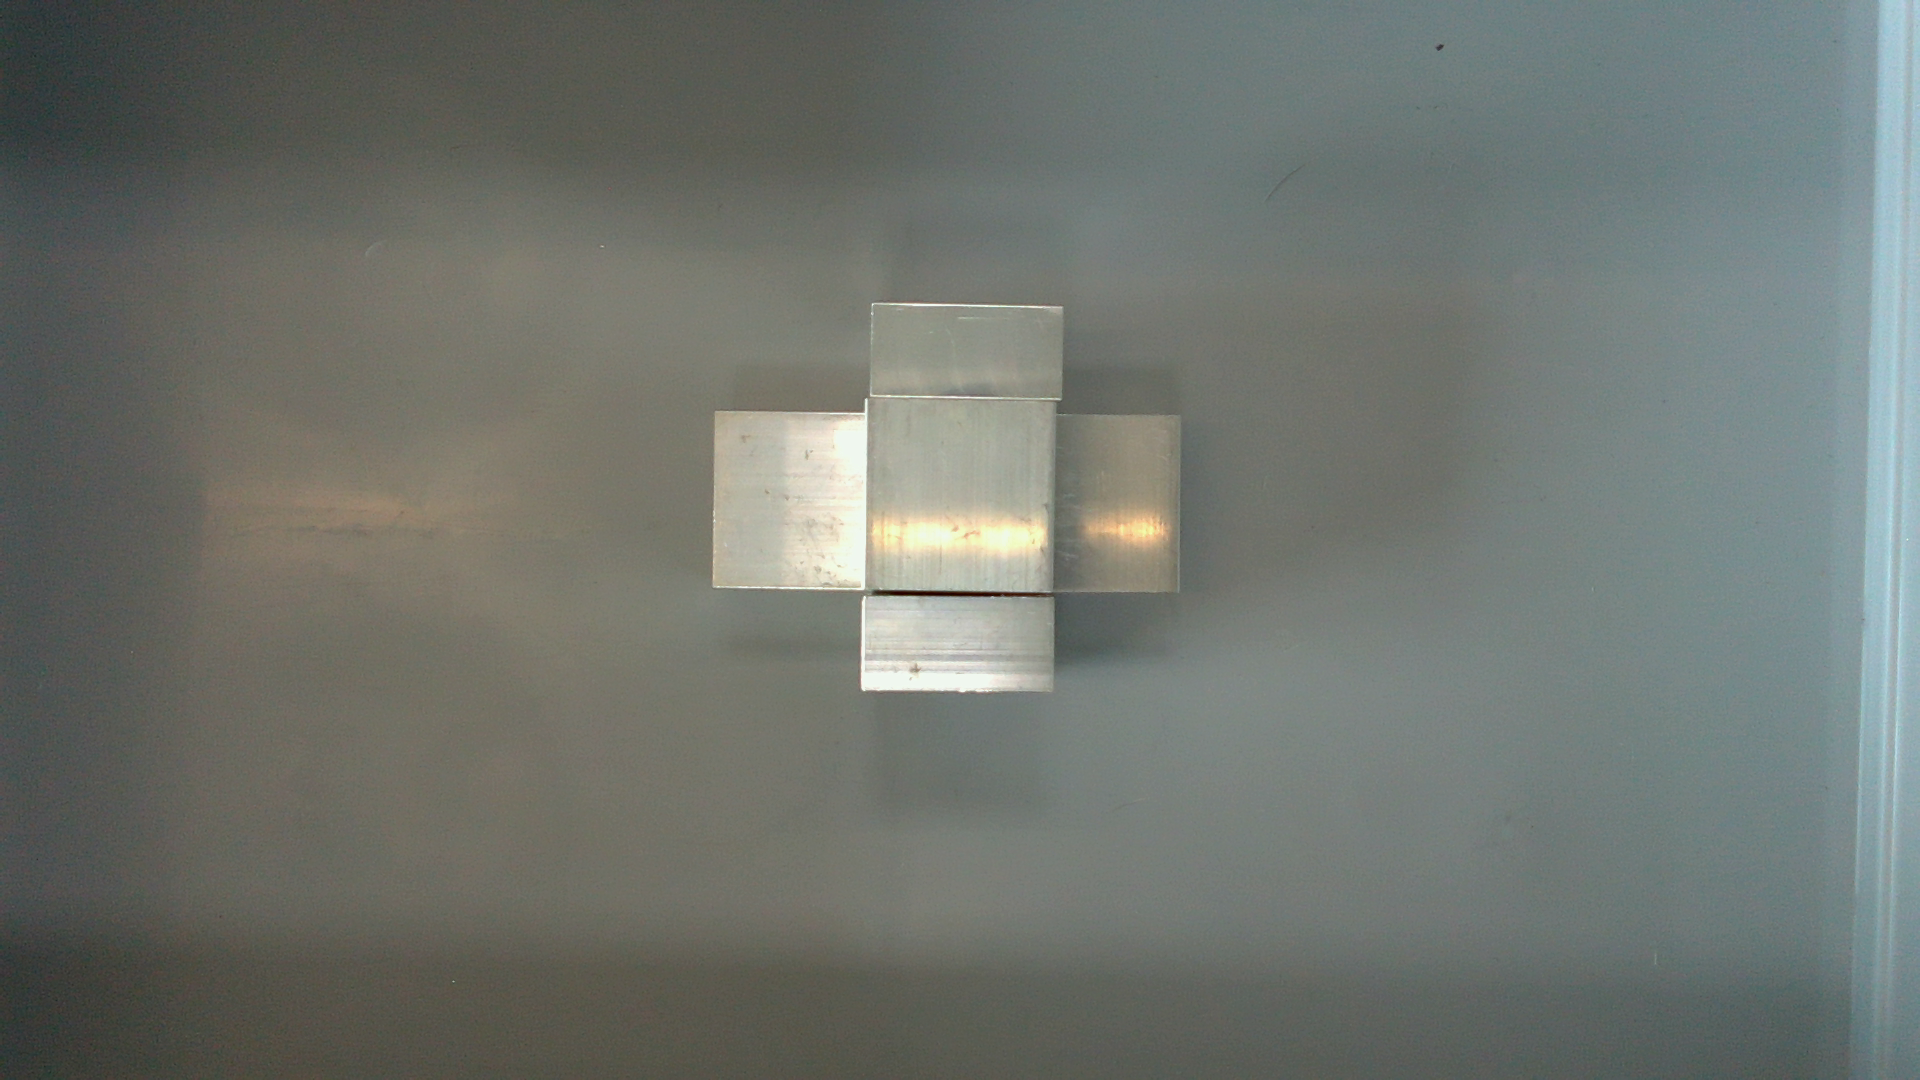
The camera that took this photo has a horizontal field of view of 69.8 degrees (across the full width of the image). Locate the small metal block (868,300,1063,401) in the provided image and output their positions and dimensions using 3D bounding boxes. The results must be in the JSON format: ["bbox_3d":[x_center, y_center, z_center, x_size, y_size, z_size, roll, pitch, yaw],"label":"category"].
[{"bbox_3d":[0.001,-0.049,0.381,0.050,0.050,0.025,1,90,0],"label":"small metal block"}]

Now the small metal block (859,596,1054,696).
[{"bbox_3d":[-0.001,0.027,0.380,0.050,0.050,0.025,1,90,0],"label":"small metal block"}]

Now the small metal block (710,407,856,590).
[{"bbox_3d":[-0.044,-0.011,0.393,0.050,0.025,0.050,1,90,0],"label":"small metal block"}]

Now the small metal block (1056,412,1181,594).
[{"bbox_3d":[0.036,-0.010,0.394,0.050,0.025,0.050,1,90,0],"label":"small metal block"}]

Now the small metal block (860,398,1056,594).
[{"bbox_3d":[0.000,-0.012,0.368,0.050,0.025,0.050,1,90,0],"label":"small metal block"}]
